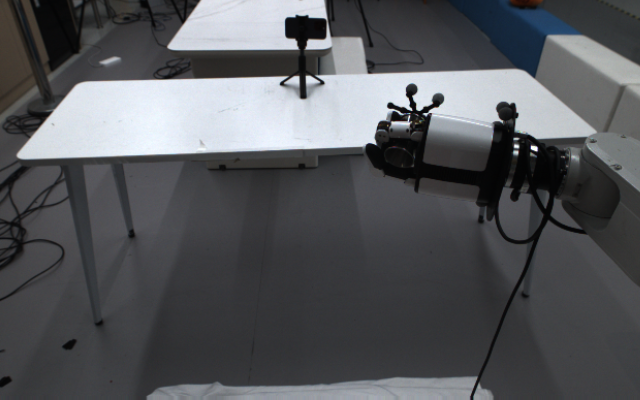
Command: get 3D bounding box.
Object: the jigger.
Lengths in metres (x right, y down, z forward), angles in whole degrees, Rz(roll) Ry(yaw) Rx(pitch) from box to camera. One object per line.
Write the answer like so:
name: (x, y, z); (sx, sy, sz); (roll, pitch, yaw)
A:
jigger: (0.122, -0.088, 0.683); (0.043, 0.043, 0.071); (15, 58, 18)
